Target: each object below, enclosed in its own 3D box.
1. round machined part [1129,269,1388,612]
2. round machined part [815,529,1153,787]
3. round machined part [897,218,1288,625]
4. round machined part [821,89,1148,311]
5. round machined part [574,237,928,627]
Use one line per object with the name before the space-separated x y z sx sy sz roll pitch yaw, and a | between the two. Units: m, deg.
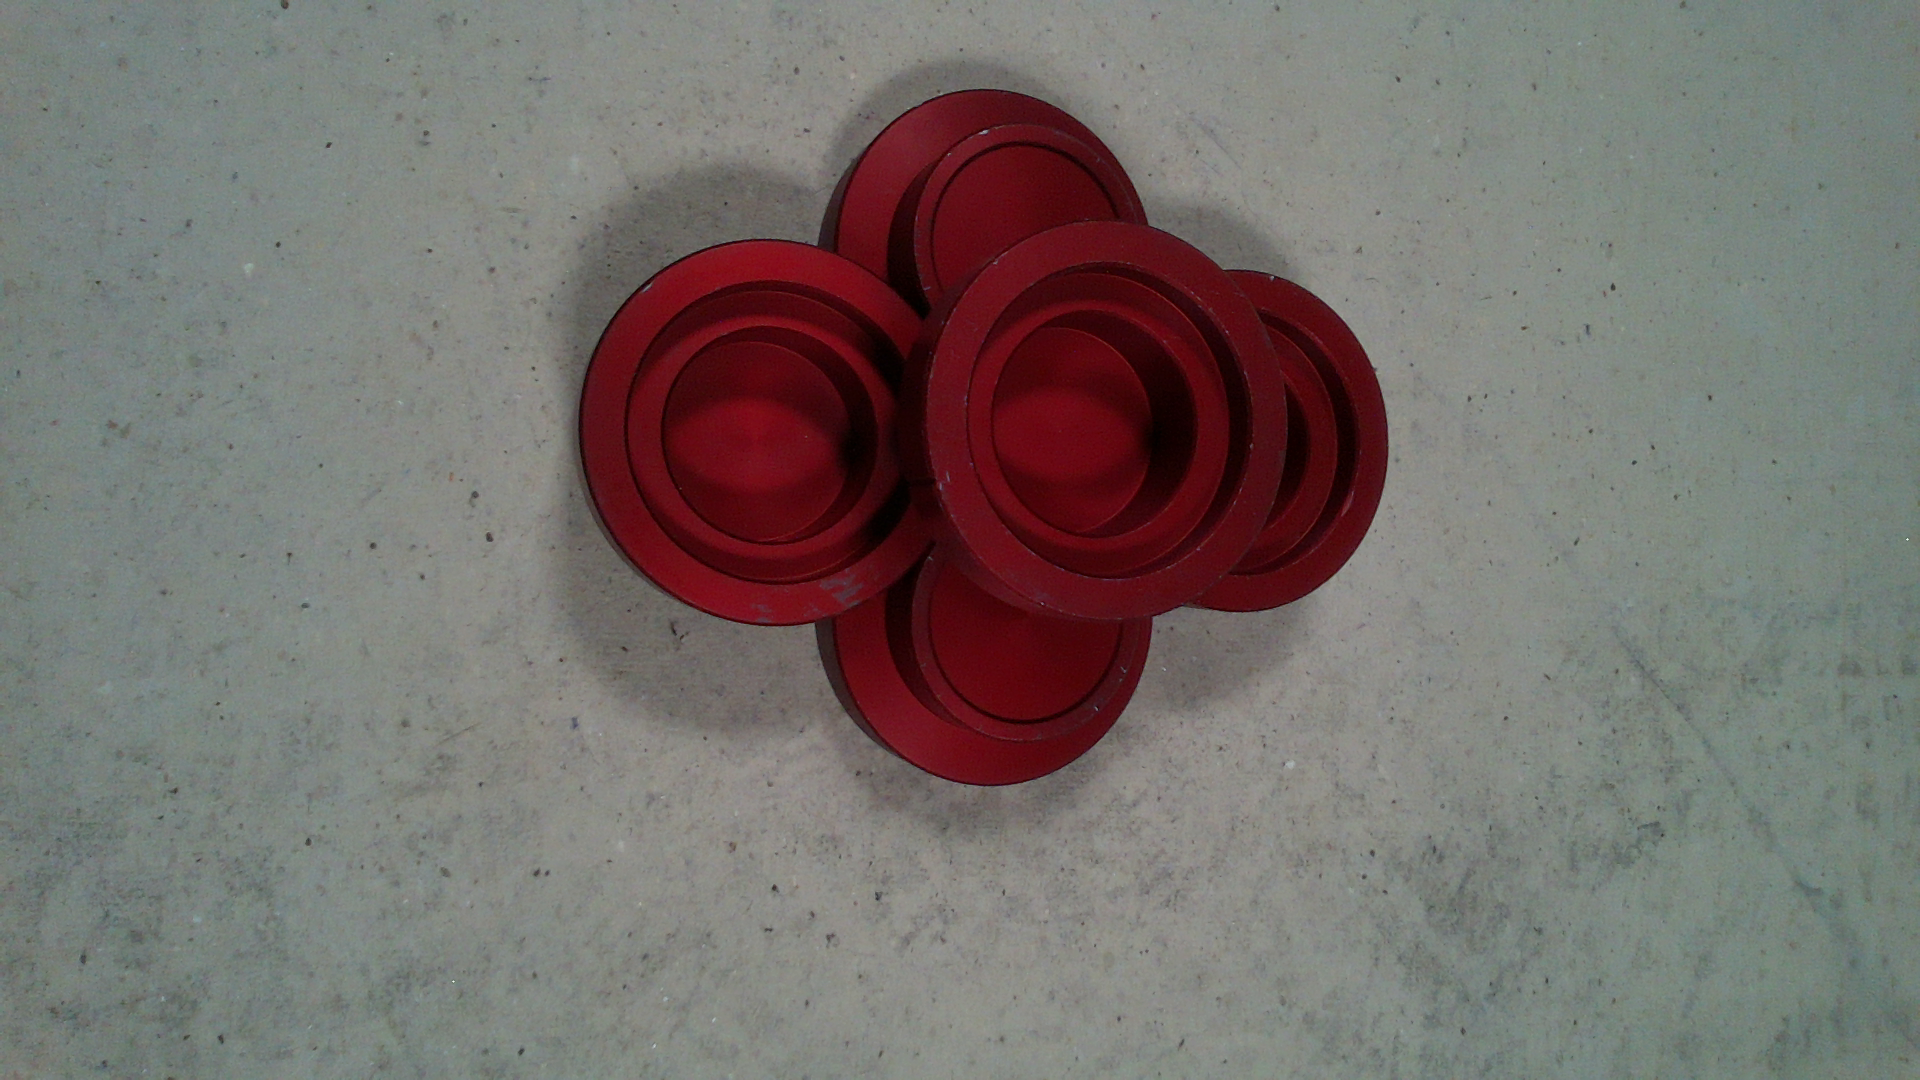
round machined part | 0.075 -0.028 0.412 0.098 0.042 0.098 0 90 -20
round machined part | 0.011 0.021 0.389 0.098 0.042 0.098 0 90 -20
round machined part | 0.030 -0.029 0.351 0.098 0.042 0.098 0 90 -20
round machined part | 0.012 -0.079 0.389 0.098 0.042 0.098 0 90 -20
round machined part | -0.053 -0.027 0.365 0.098 0.042 0.098 0 90 -20
